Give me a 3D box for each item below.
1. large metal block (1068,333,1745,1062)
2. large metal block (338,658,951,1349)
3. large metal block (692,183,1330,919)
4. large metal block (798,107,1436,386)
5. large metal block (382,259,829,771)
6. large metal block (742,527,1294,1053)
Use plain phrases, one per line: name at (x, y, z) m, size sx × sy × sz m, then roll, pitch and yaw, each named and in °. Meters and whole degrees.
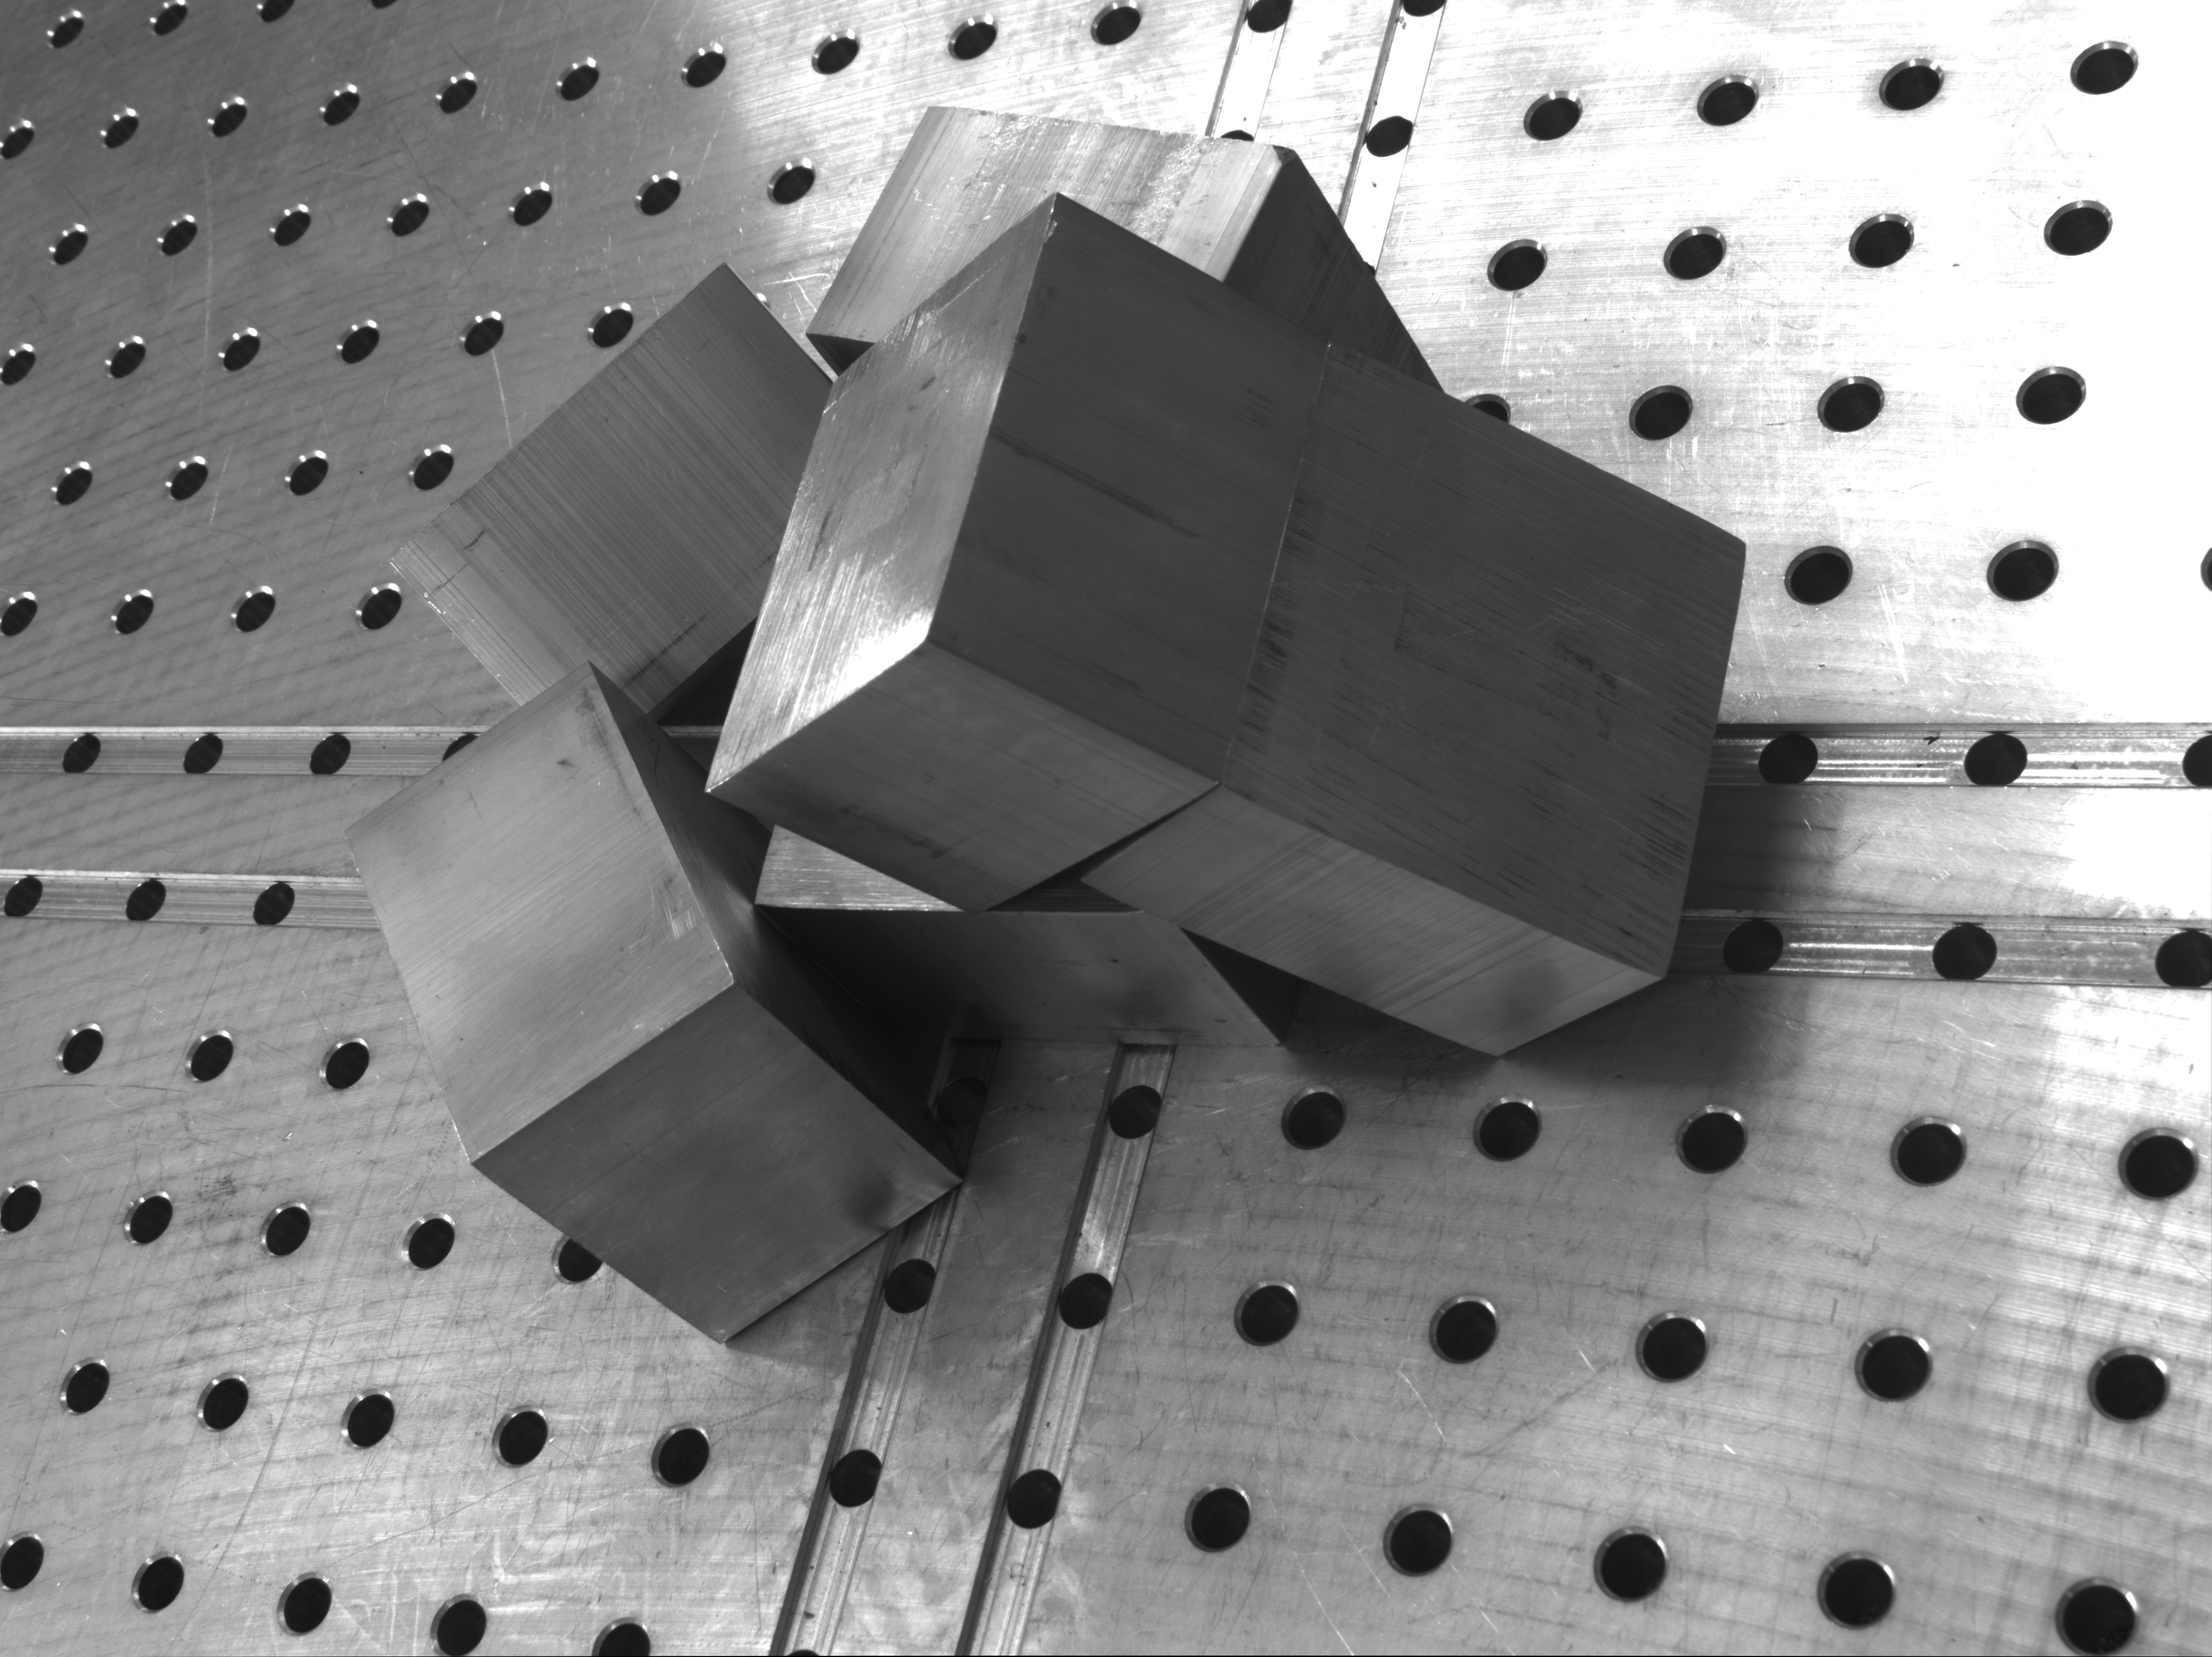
large metal block at (0.049, -0.019, 0.588) m, size 0.050 × 0.080 × 0.080 m, roll -34°, pitch 37°, yaw 58°
large metal block at (-0.079, 0.031, 0.635) m, size 0.050 × 0.080 × 0.080 m, roll -34°, pitch 51°, yaw 5°
large metal block at (-0.016, -0.041, 0.576) m, size 0.080 × 0.050 × 0.080 m, roll -29°, pitch 40°, yaw 56°
large metal block at (0.005, -0.081, 0.661) m, size 0.080 × 0.080 × 0.050 m, roll 14°, pitch 69°, yaw 34°
large metal block at (-0.082, -0.057, 0.685) m, size 0.080 × 0.080 × 0.050 m, roll -42°, pitch 95°, yaw 0°
large metal block at (-0.007, -0.009, 0.642) m, size 0.080 × 0.050 × 0.080 m, roll 1°, pitch 62°, yaw 29°
